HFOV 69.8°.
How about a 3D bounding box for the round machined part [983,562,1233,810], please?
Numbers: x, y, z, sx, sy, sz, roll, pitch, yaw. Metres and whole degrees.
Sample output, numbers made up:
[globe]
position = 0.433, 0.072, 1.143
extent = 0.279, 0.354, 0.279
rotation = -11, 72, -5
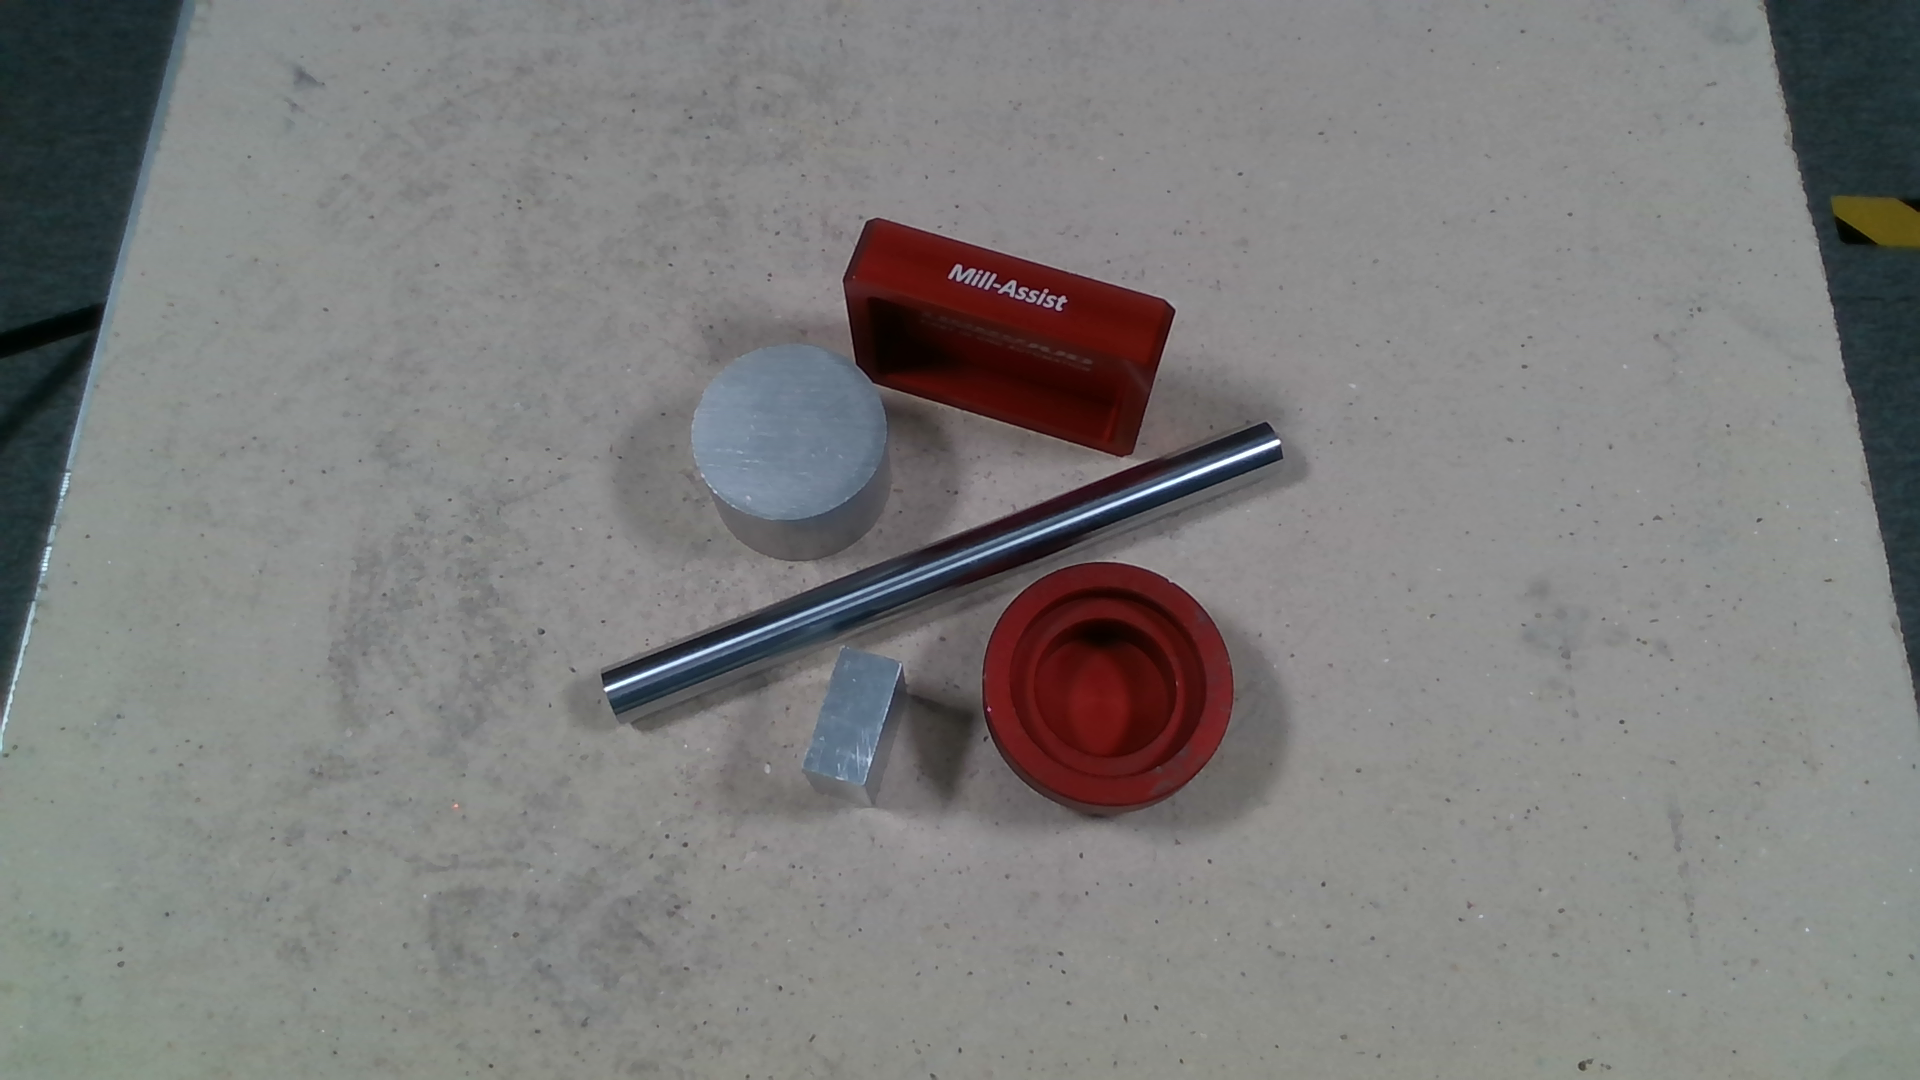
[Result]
[round machined part]
position = 0.058, 0.062, 0.557
extent = 0.098, 0.042, 0.098
rotation = 0, 70, 0

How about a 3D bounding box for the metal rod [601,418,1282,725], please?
[metal rod]
position = -0.004, 0.011, 0.585
extent = 0.300, 0.025, 0.025
rotation = -21, 72, -7

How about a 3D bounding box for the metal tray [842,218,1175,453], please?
[metal tray]
position = 0.019, -0.084, 0.584
extent = 0.130, 0.090, 0.030
rotation = 17, 71, 6

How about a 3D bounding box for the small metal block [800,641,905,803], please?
[small metal block]
position = -0.041, 0.074, 0.546
extent = 0.025, 0.050, 0.050
rotation = 16, 71, 6

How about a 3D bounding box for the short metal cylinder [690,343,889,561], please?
[short metal cylinder]
position = -0.071, -0.037, 0.588
extent = 0.080, 0.050, 0.080
rotation = 0, 70, 0
